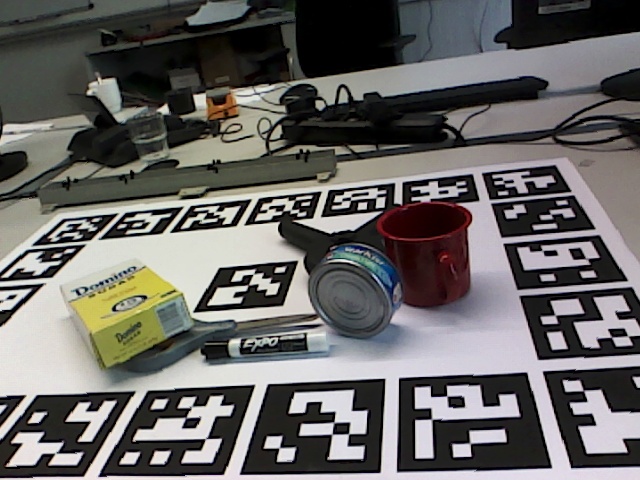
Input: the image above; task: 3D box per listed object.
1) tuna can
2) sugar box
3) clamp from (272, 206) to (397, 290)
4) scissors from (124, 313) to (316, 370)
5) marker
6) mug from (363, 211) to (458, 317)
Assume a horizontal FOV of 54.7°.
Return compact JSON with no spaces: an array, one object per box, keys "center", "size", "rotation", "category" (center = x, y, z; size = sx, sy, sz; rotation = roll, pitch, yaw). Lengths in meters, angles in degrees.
[{"center":[0.035,0.054,0.580],"size":[0.086,0.085,0.033],"rotation":[3,29,25],"category":"tuna can"},{"center":[-0.210,0.076,0.659],"size":[0.092,0.045,0.177],"rotation":[-22,23,-23],"category":"sugar box"},{"center":[0.025,0.021,0.728],"size":[0.165,0.036,0.203],"rotation":[-10,27,1],"category":"clamp"},{"center":[-0.105,0.091,0.626],"size":[0.203,0.016,0.088],"rotation":[-9,23,0],"category":"scissors"},{"center":[-0.064,0.108,0.583],"size":[0.121,0.019,0.020],"rotation":[-7,27,7],"category":"marker"},{"center":[0.100,0.029,0.618],"size":[0.093,0.081,0.118],"rotation":[-17,24,-15],"category":"mug"}]
